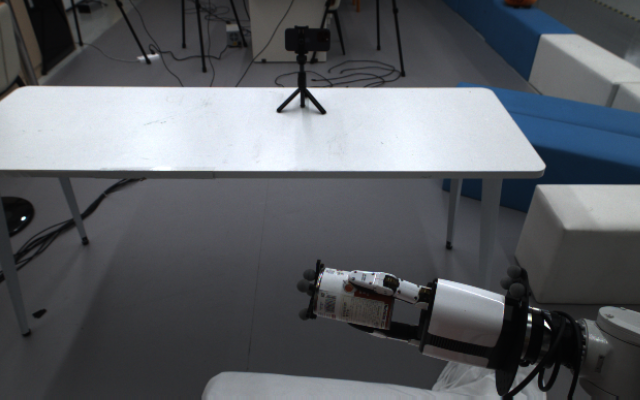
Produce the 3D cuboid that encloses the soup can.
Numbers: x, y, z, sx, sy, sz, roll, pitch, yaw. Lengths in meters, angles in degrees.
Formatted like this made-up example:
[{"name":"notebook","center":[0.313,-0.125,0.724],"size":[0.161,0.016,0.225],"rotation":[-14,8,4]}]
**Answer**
[{"name":"soup can","center":[0.051,0.131,0.647],"size":[0.101,0.067,0.067],"rotation":[9,35,9]}]
